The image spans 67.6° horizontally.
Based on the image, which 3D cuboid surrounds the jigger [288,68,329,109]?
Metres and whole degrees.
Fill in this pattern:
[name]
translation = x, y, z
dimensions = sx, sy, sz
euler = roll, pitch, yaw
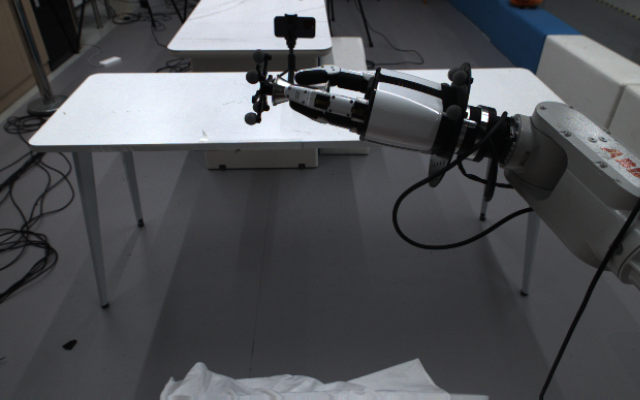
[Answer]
[jigger]
translation = -0.017, -0.139, 0.624
dimensions = 0.071, 0.043, 0.043
euler = 9, 35, 4
